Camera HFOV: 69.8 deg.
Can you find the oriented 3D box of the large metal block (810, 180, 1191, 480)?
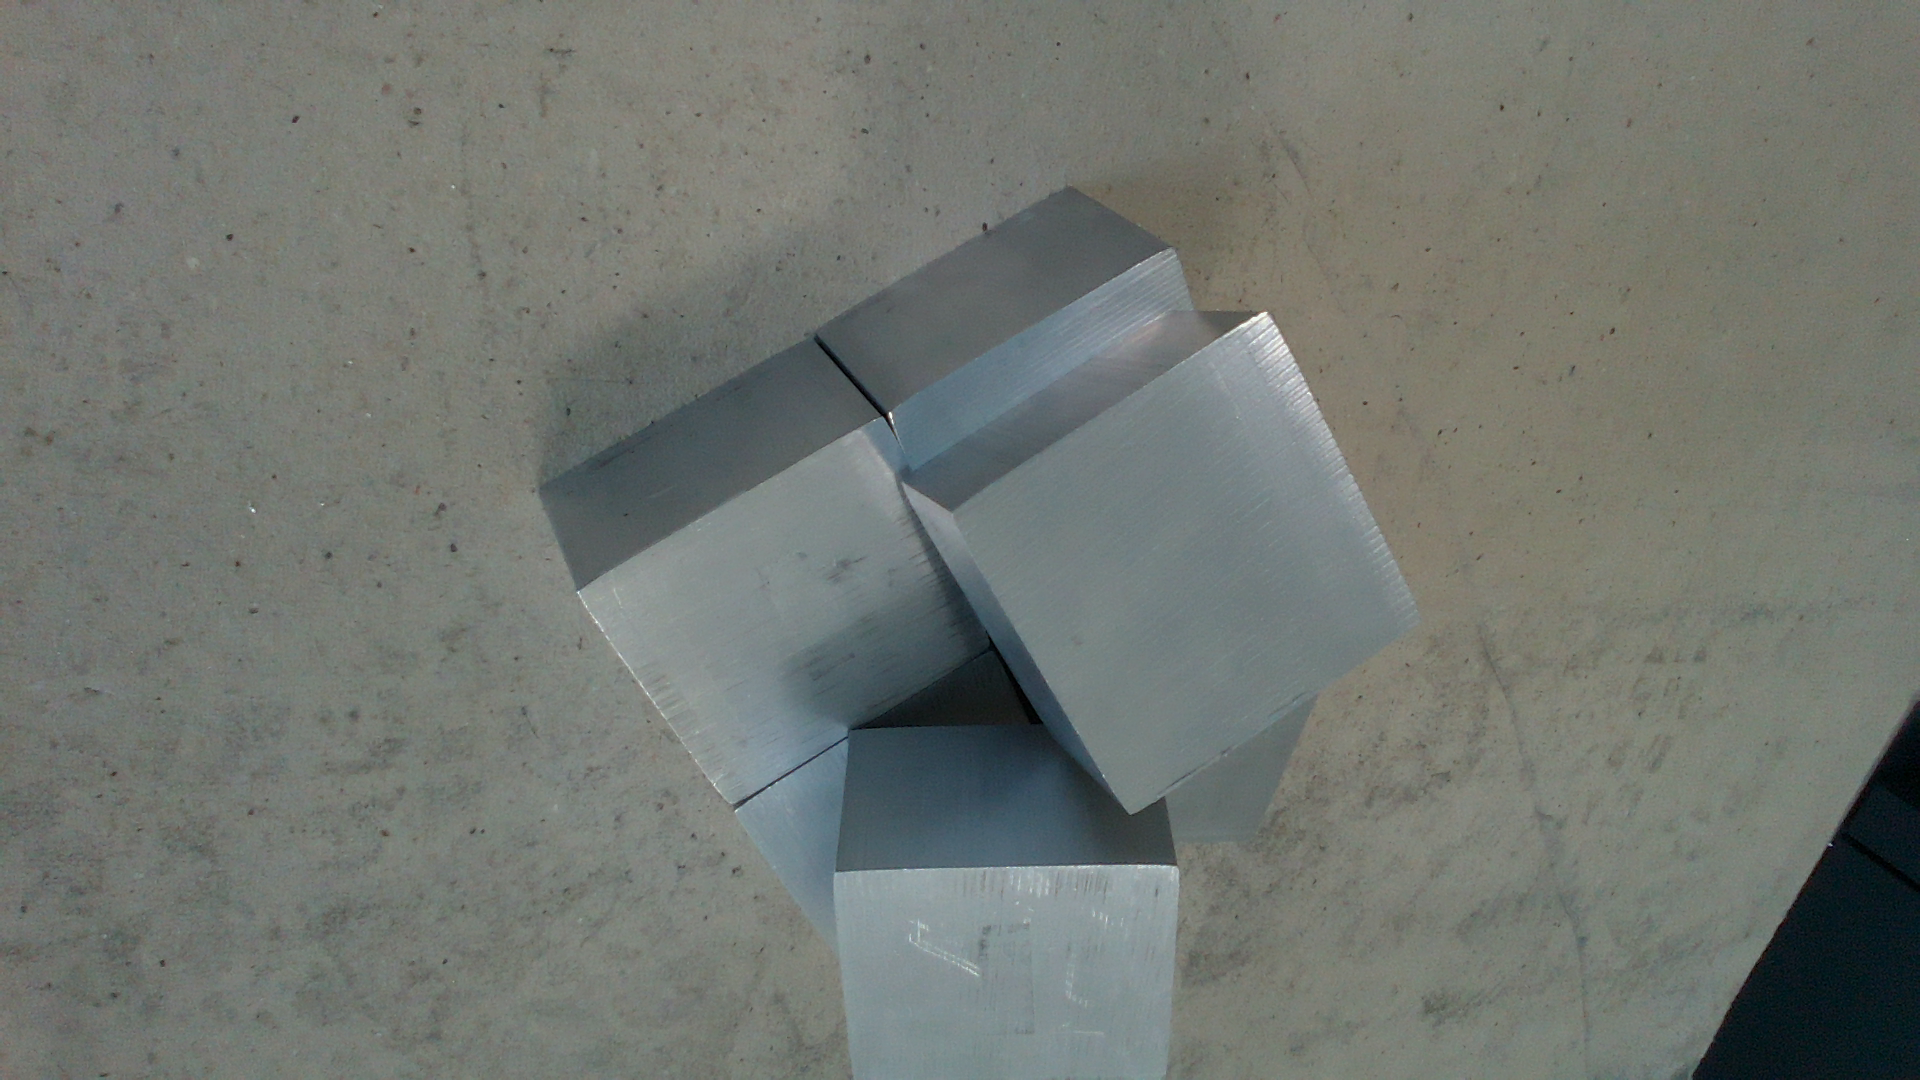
[{"bbox_3d":[0.020,-0.034,0.361,0.080,0.050,0.080,-32,129,-9],"label":"large metal block"}]

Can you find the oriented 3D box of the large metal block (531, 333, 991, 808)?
[{"bbox_3d":[-0.049,0.008,0.353,0.080,0.050,0.080,-31,129,-8],"label":"large metal block"}]

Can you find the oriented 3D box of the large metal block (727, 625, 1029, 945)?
[{"bbox_3d":[-0.022,0.064,0.402,0.080,0.050,0.080,-31,128,-8],"label":"large metal block"}]

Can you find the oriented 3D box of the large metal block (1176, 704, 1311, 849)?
[{"bbox_3d":[0.058,0.034,0.407,0.050,0.080,0.080,4,117,-30],"label":"large metal block"}]

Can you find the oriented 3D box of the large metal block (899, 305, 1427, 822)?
[{"bbox_3d":[0.045,0.002,0.314,0.080,0.050,0.080,-33,106,-7],"label":"large metal block"}]

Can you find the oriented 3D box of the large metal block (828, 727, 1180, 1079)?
[{"bbox_3d":[0.011,0.096,0.355,0.080,0.050,0.080,-1,123,1],"label":"large metal block"}]
